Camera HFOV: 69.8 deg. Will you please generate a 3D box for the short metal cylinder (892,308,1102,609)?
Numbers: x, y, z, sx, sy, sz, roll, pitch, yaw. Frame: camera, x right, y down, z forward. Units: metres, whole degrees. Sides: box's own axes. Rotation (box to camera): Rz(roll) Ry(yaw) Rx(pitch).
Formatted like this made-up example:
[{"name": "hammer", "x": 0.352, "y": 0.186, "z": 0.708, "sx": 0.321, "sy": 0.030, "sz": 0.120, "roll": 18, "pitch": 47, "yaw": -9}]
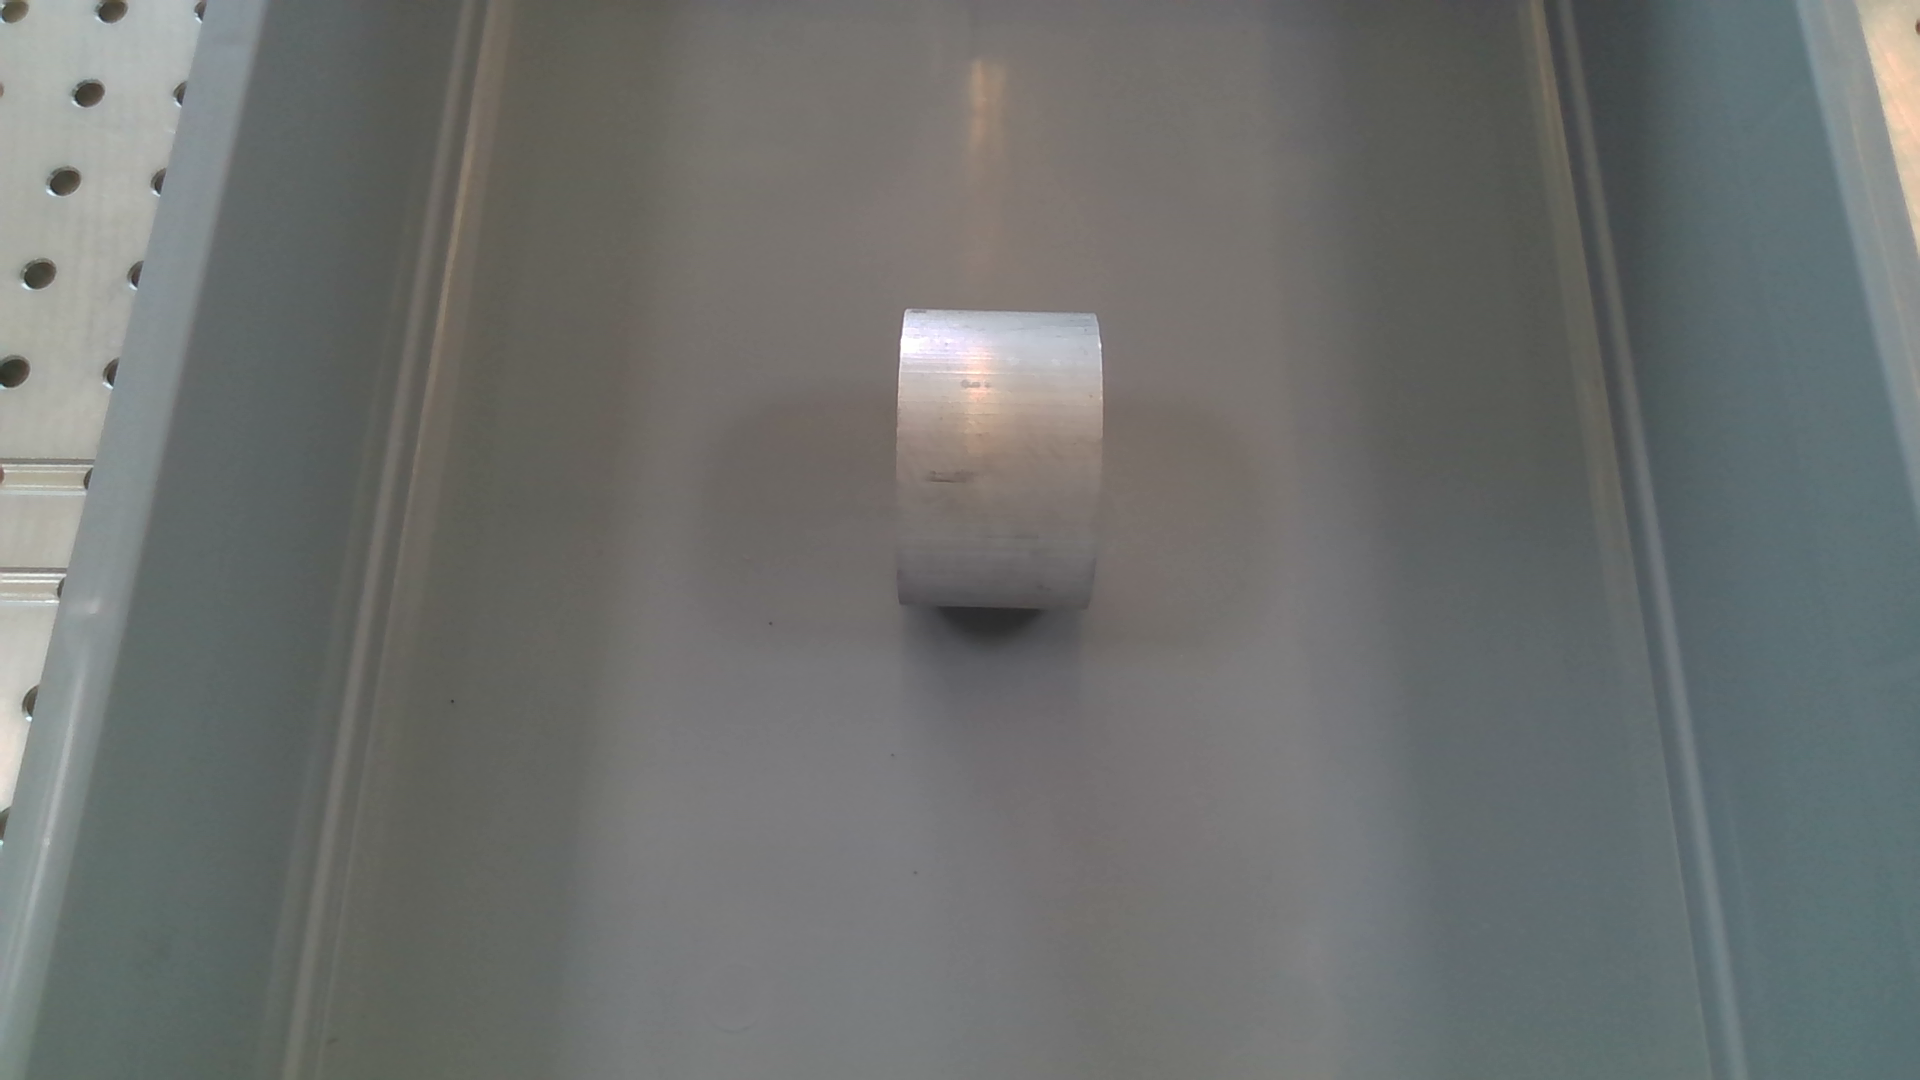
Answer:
[{"name": "short metal cylinder", "x": 0.009, "y": -0.022, "z": 0.371, "sx": 0.050, "sy": 0.080, "sz": 0.080, "roll": 2, "pitch": 70, "yaw": 1}]
